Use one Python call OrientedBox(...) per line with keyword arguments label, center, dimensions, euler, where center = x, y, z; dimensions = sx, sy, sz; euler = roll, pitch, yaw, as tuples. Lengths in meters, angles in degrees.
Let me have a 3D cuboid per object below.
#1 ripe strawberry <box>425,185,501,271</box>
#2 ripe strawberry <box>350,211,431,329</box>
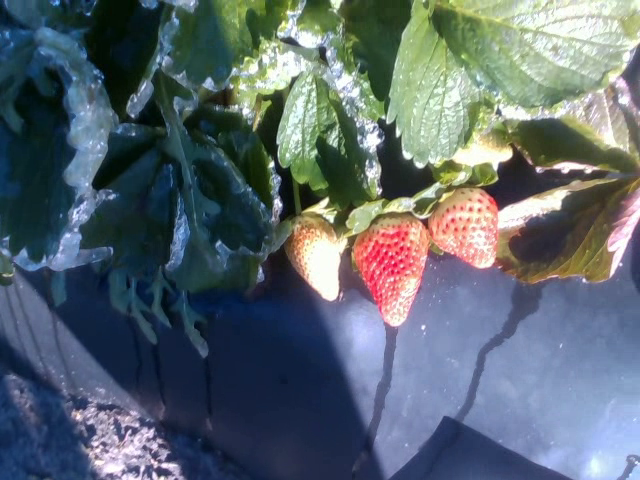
OrientedBox(label="ripe strawberry", center=(0.069, -0.004, 0.265), dimensions=(0.036, 0.041, 0.030), euler=(-38, 8, 35))
OrientedBox(label="ripe strawberry", center=(0.035, 0.017, 0.270), dimensions=(0.036, 0.052, 0.039), euler=(-11, -11, 26))
